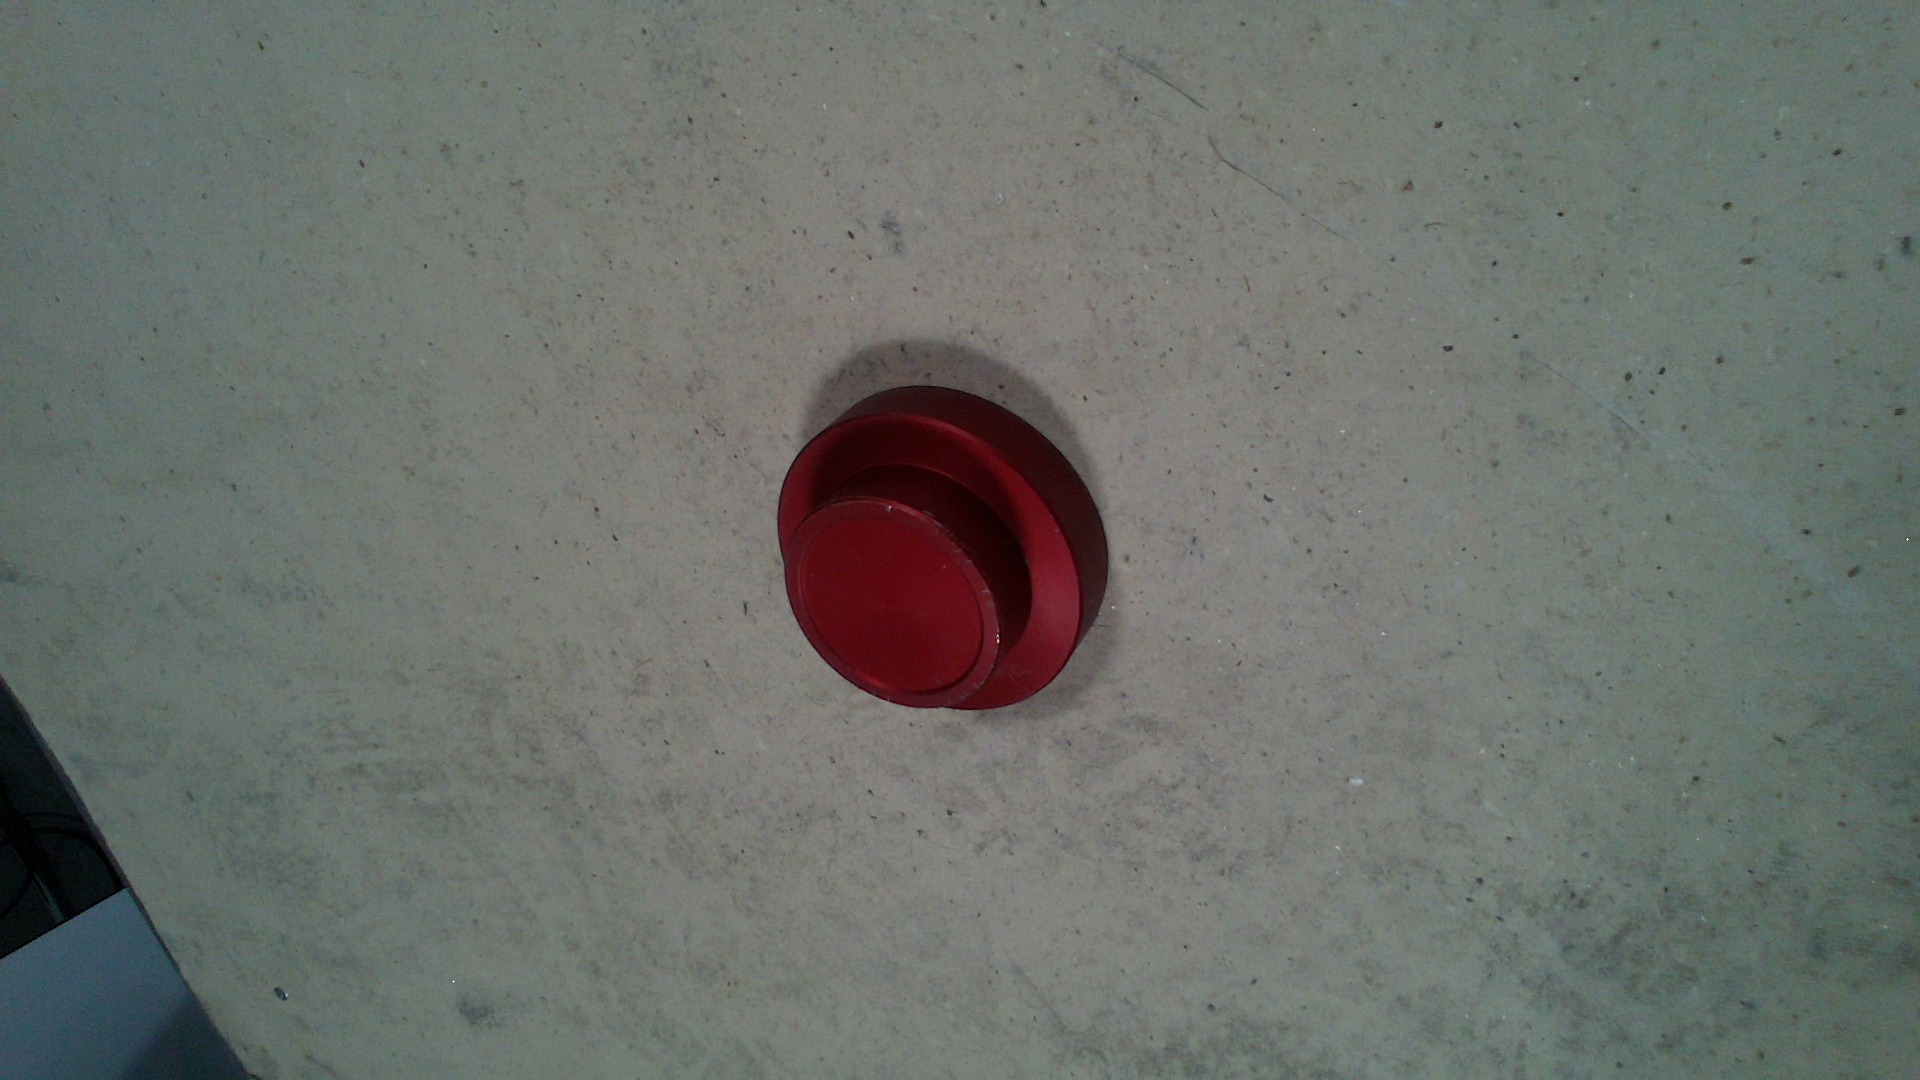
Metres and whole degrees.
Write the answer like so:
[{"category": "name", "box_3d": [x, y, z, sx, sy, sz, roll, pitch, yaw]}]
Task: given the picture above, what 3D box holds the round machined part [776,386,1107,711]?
[{"category": "round machined part", "box_3d": [-0.011, 0.009, 0.393, 0.098, 0.042, 0.098, 13, 124, 21]}]
